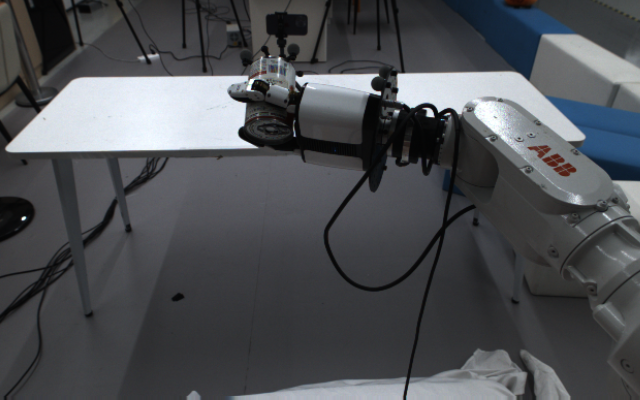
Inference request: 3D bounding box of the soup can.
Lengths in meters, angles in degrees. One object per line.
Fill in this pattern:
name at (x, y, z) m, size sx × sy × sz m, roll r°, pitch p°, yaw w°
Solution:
soup can at (-0.067, -0.136, 0.660) m, size 0.067 × 0.067 × 0.101 m, roll 1°, pitch 68°, yaw -1°
